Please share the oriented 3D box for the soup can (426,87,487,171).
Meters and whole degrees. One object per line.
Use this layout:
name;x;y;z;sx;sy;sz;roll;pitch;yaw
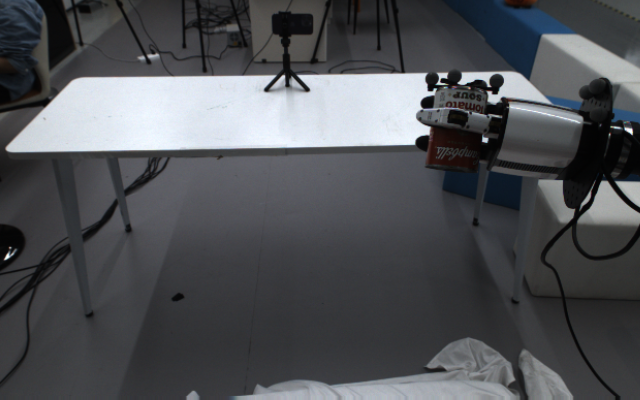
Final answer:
soup can;0.177;-0.089;0.623;0.067;0.101;0.067;7;3;0
